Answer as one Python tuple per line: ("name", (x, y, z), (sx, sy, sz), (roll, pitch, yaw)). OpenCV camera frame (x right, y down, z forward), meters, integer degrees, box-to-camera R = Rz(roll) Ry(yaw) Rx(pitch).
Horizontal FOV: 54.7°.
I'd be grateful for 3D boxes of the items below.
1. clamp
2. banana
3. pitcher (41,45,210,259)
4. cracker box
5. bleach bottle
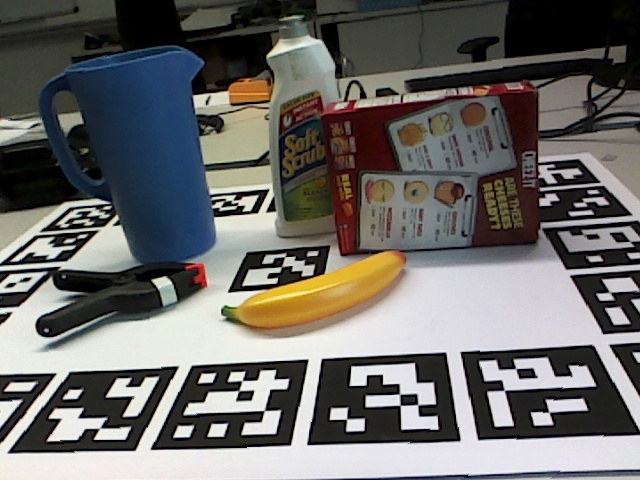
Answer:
("clamp", (-0.197, 0.061, 0.660), (0.165, 0.036, 0.122), (-10, 20, -8))
("banana", (0.019, 0.057, 0.610), (0.196, 0.039, 0.075), (-19, 24, -24))
("pitcher", (-0.214, -0.103, 0.738), (0.188, 0.242, 0.134), (-10, 21, -11))
("cracker box", (0.127, -0.079, 0.675), (0.214, 0.164, 0.072), (-6, 19, 10))
("bleach bottle", (-0.023, -0.119, 0.755), (0.103, 0.250, 0.068), (-6, 21, 8))
